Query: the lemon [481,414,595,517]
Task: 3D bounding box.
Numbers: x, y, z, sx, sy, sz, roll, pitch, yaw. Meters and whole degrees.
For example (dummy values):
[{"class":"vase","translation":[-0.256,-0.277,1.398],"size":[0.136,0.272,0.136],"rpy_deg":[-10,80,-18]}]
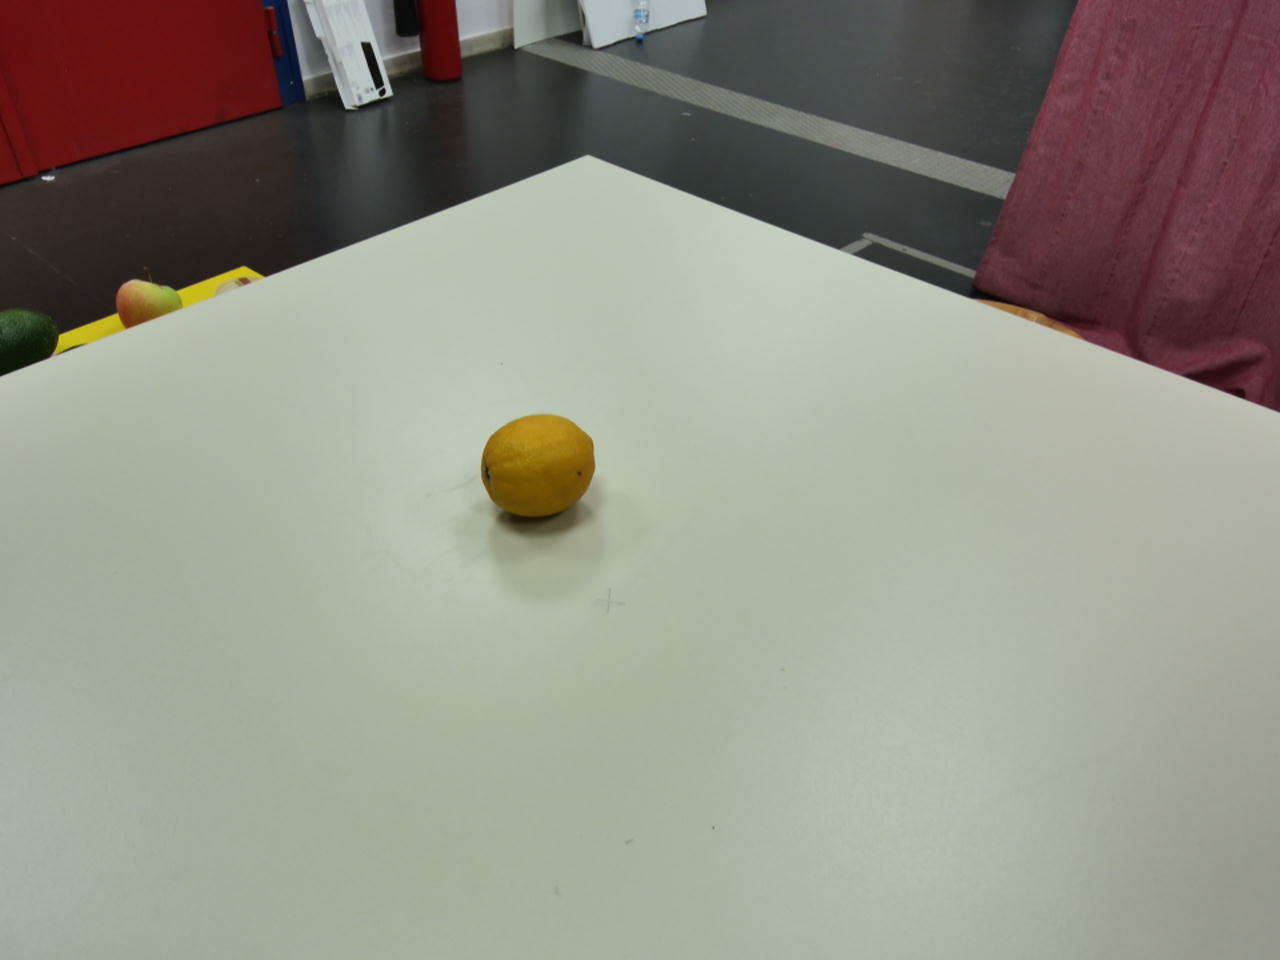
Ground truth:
[{"class":"lemon","translation":[-0.060,-0.008,0.585],"size":[0.067,0.059,0.060],"rpy_deg":[-3,38,-6]}]
